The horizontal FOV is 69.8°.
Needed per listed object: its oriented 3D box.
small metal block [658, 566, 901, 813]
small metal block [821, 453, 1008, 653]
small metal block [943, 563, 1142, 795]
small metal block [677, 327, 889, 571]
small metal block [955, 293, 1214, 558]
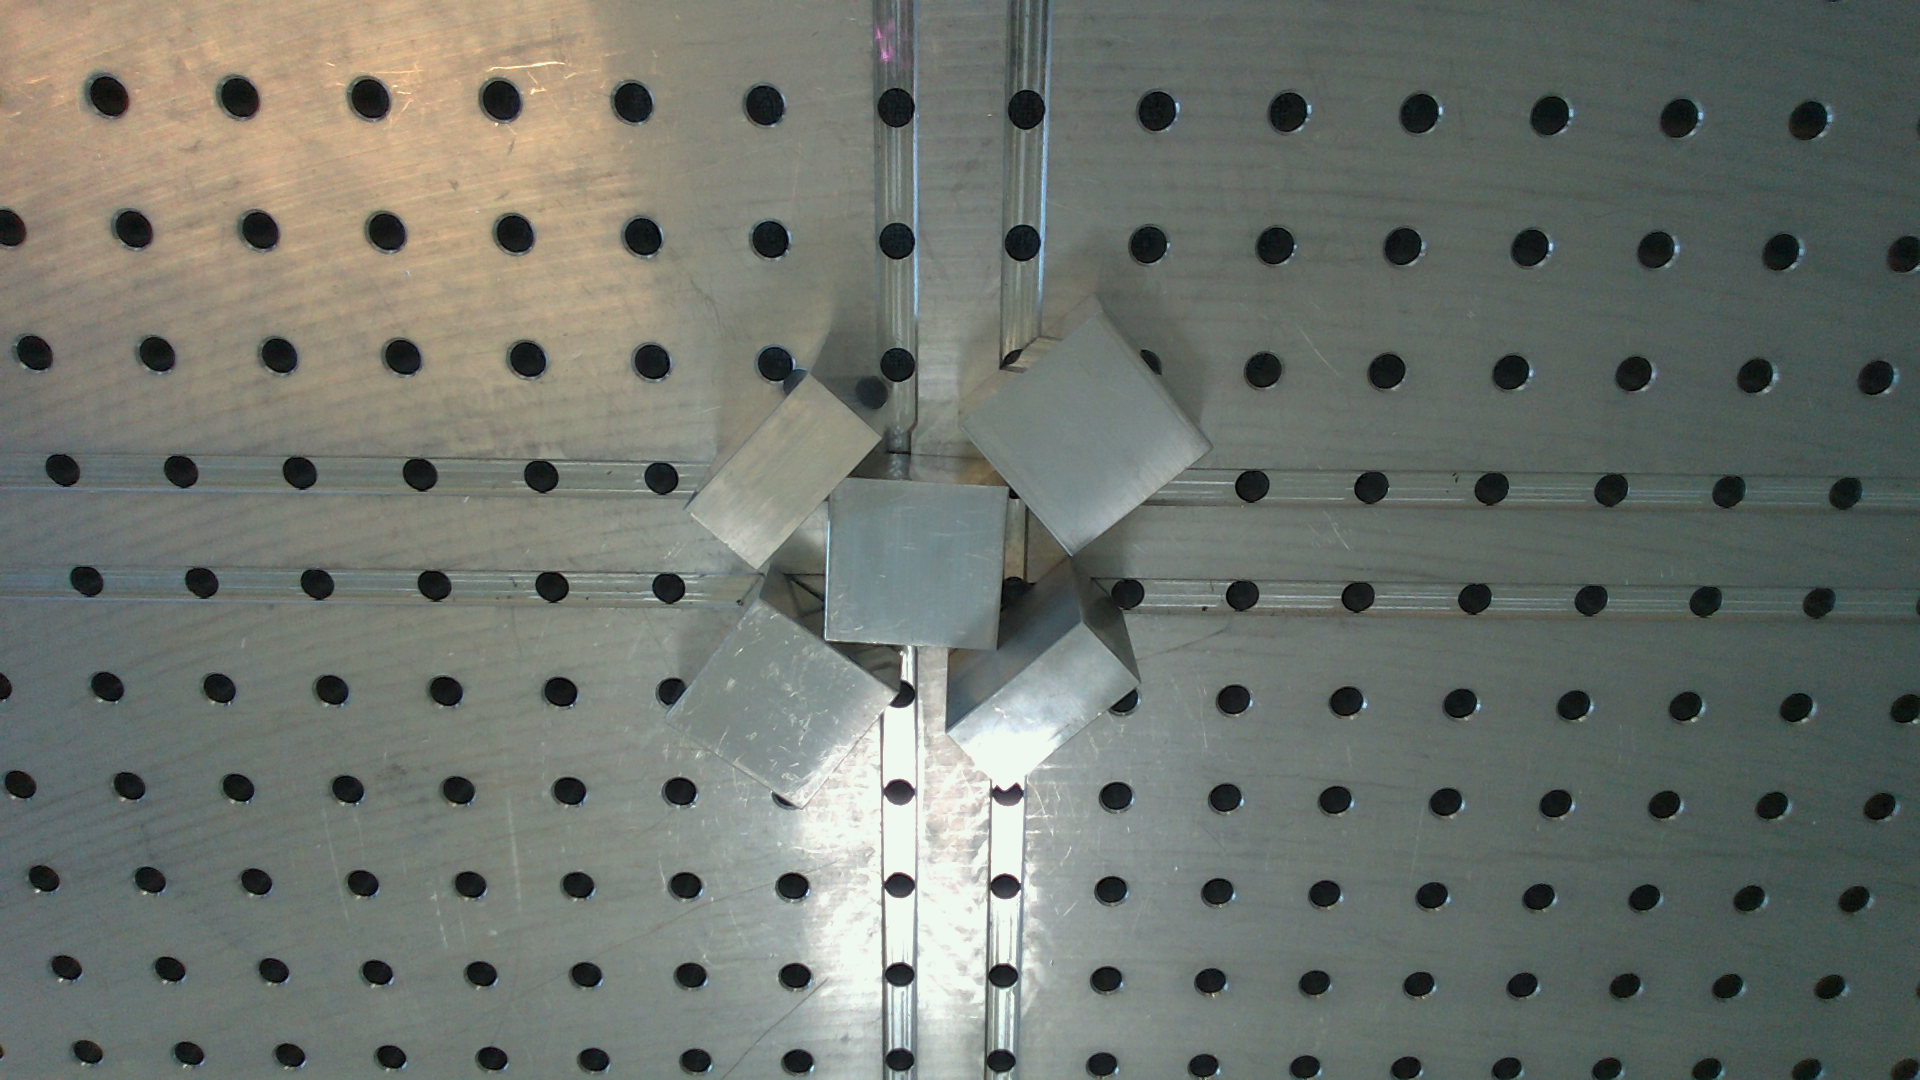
[{"bbox_3d":[-0.053,0.045,0.412,0.050,0.025,0.050,36,106,-13],"label":"small metal block"},{"bbox_3d":[-0.013,0.003,0.397,0.050,0.025,0.050,4,109,0],"label":"small metal block"},{"bbox_3d":[0.022,0.038,0.397,0.050,0.050,0.025,-41,105,13],"label":"small metal block"},{"bbox_3d":[-0.046,-0.026,0.373,0.025,0.050,0.050,42,106,-14],"label":"small metal block"},{"bbox_3d":[0.034,-0.032,0.384,0.050,0.025,0.050,-38,106,13],"label":"small metal block"}]
